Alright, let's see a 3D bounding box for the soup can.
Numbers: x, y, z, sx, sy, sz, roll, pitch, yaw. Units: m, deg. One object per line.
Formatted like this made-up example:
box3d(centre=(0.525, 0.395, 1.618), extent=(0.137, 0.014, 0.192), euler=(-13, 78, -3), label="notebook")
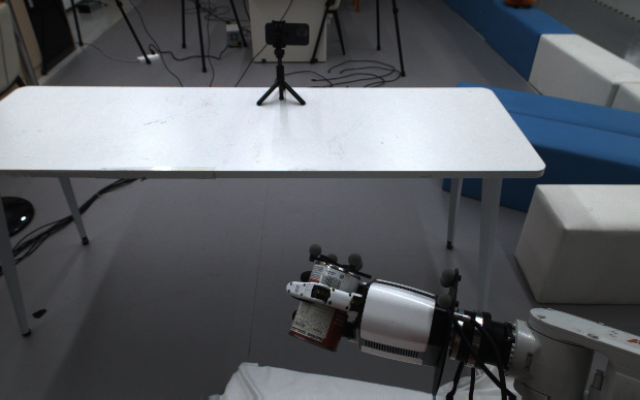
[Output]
box3d(centre=(0.009, 0.140, 0.638), extent=(0.067, 0.067, 0.101), euler=(15, 74, 18), label="soup can")
